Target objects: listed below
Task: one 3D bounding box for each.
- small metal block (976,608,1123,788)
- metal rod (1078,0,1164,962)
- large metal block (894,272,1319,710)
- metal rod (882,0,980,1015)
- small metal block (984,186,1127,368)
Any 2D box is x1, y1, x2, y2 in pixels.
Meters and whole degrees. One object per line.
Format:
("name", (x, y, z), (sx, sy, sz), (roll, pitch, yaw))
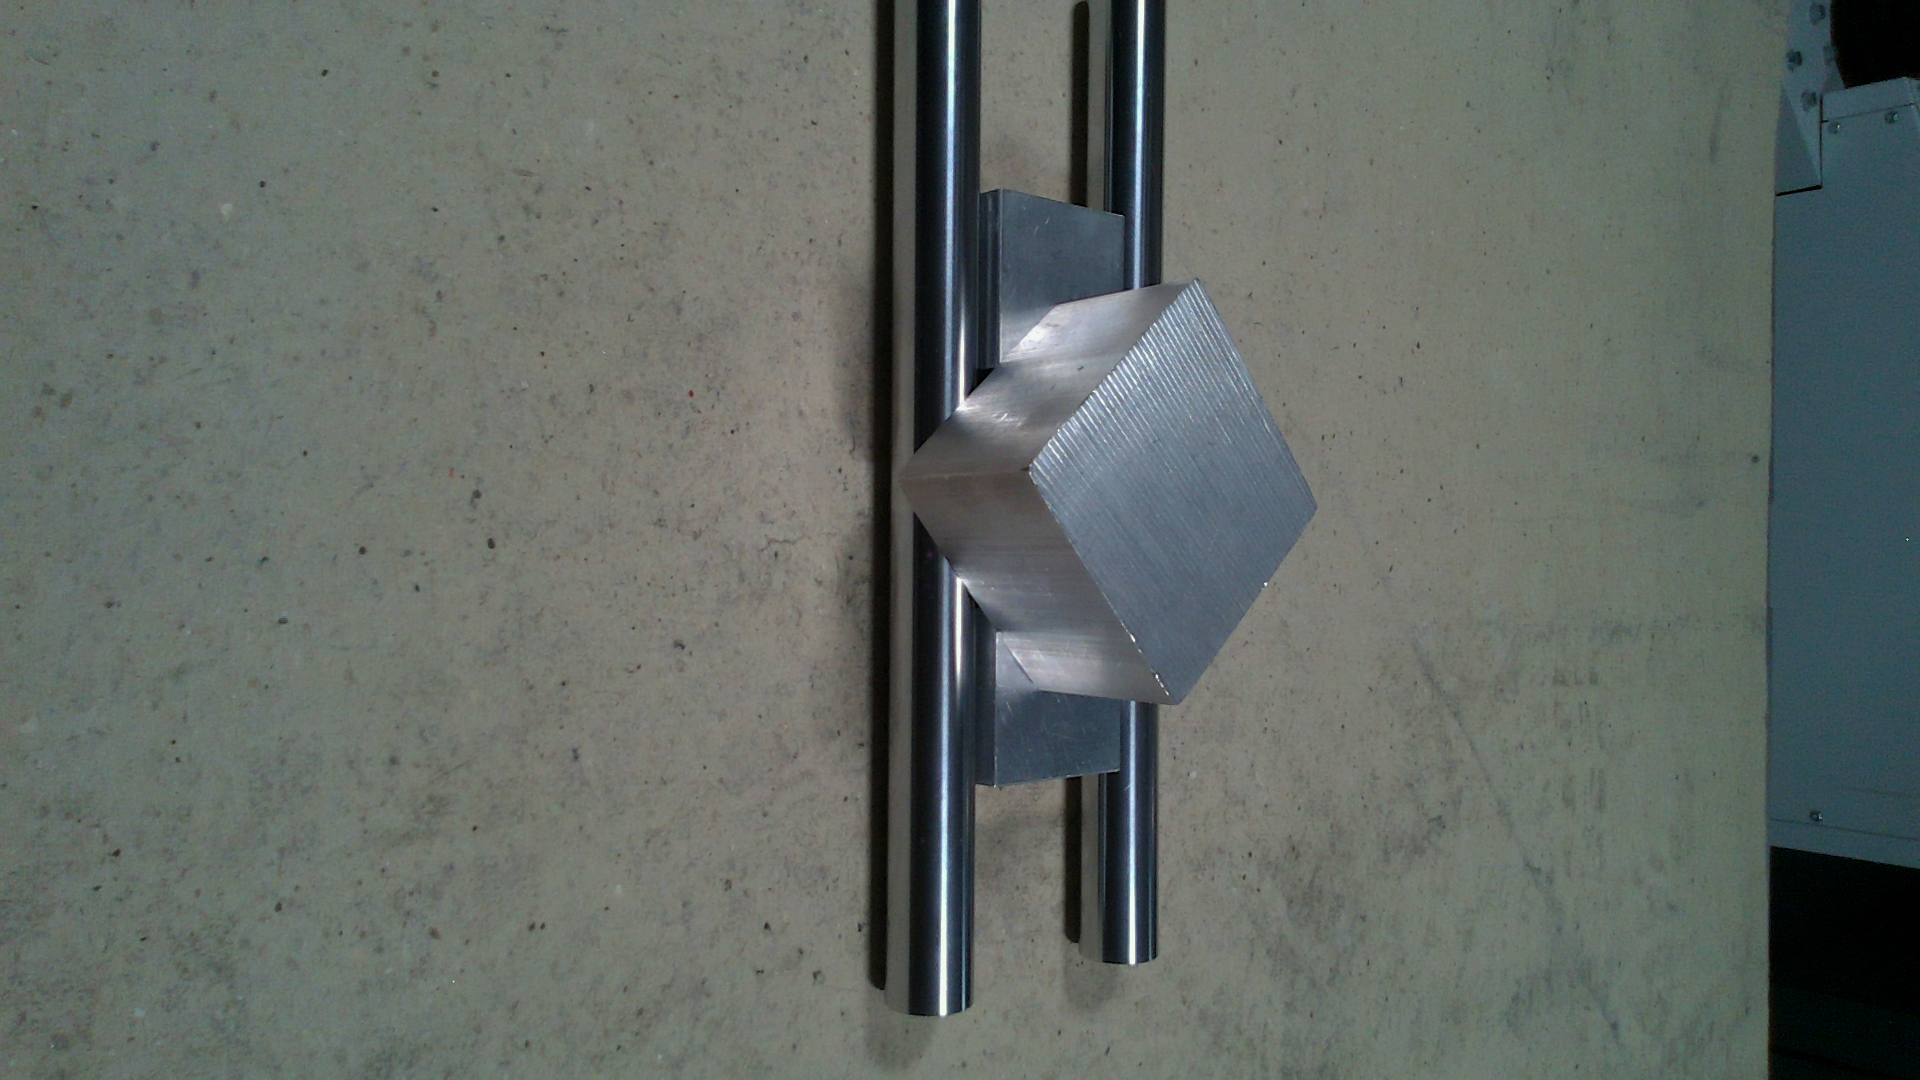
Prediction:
("small metal block", (0.022, 0.044, 0.406), (0.050, 0.025, 0.050), (1, 89, -40))
("metal rod", (0.051, -0.022, 0.432), (0.025, 0.025, 0.300), (1, 90, -40))
("large metal block", (0.042, -0.013, 0.373), (0.080, 0.050, 0.080), (-49, 119, -29))
("metal rod", (-0.008, -0.022, 0.383), (0.025, 0.025, 0.300), (1, 90, -40))
("small metal block", (0.023, -0.073, 0.406), (0.050, 0.025, 0.050), (1, 89, -40))
